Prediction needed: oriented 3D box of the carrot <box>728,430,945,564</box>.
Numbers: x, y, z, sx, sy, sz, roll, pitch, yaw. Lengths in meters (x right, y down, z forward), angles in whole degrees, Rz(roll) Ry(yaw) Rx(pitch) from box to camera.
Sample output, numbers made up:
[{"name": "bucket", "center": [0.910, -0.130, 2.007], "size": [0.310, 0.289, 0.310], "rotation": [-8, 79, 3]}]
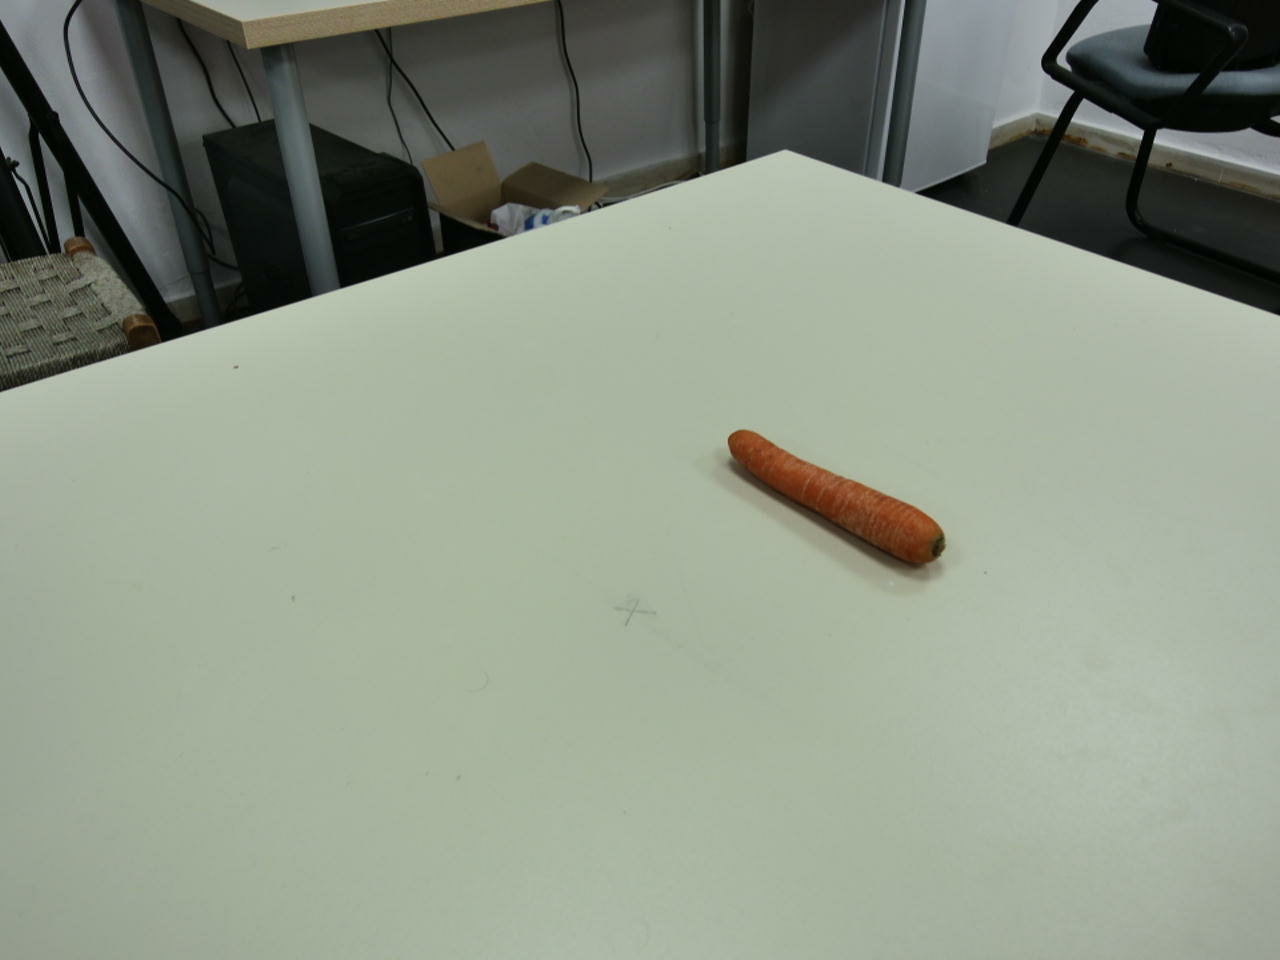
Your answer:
[{"name": "carrot", "center": [0.086, 0.005, 0.457], "size": [0.024, 0.023, 0.122], "rotation": [-26, 42, -32]}]
